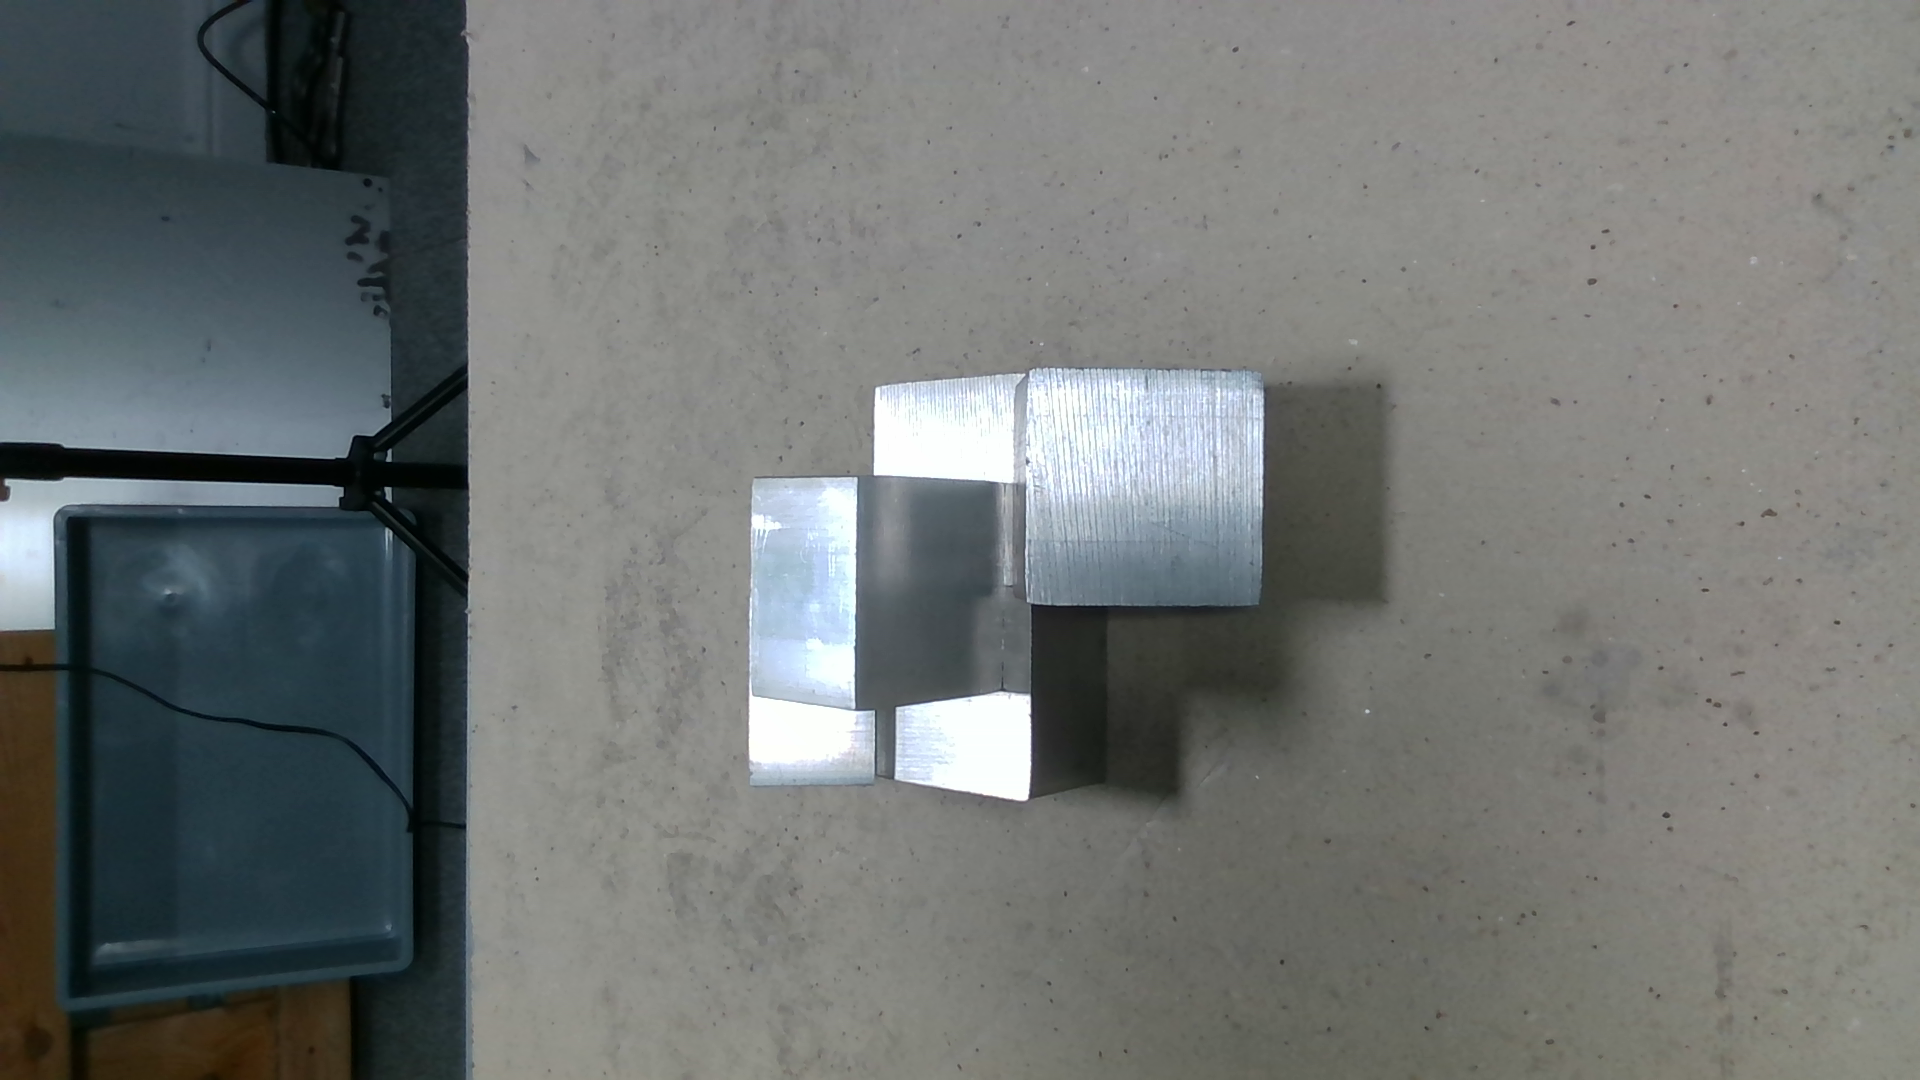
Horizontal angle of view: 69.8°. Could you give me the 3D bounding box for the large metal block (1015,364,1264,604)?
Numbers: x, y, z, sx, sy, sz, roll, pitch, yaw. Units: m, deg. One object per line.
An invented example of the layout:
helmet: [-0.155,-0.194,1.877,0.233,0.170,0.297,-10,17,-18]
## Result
large metal block: [0.061,-0.019,0.487,0.080,0.050,0.080,0,90,-4]

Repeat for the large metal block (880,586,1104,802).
large metal block: [0.010,0.057,0.555,0.080,0.050,0.080,1,91,40]

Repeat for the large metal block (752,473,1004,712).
large metal block: [-0.029,0.017,0.506,0.050,0.080,0.080,2,91,40]

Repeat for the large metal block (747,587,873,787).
large metal block: [-0.063,0.059,0.591,0.050,0.080,0.080,0,91,-4]

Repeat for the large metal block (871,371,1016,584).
large metal block: [0.010,-0.024,0.555,0.080,0.050,0.080,1,91,40]
